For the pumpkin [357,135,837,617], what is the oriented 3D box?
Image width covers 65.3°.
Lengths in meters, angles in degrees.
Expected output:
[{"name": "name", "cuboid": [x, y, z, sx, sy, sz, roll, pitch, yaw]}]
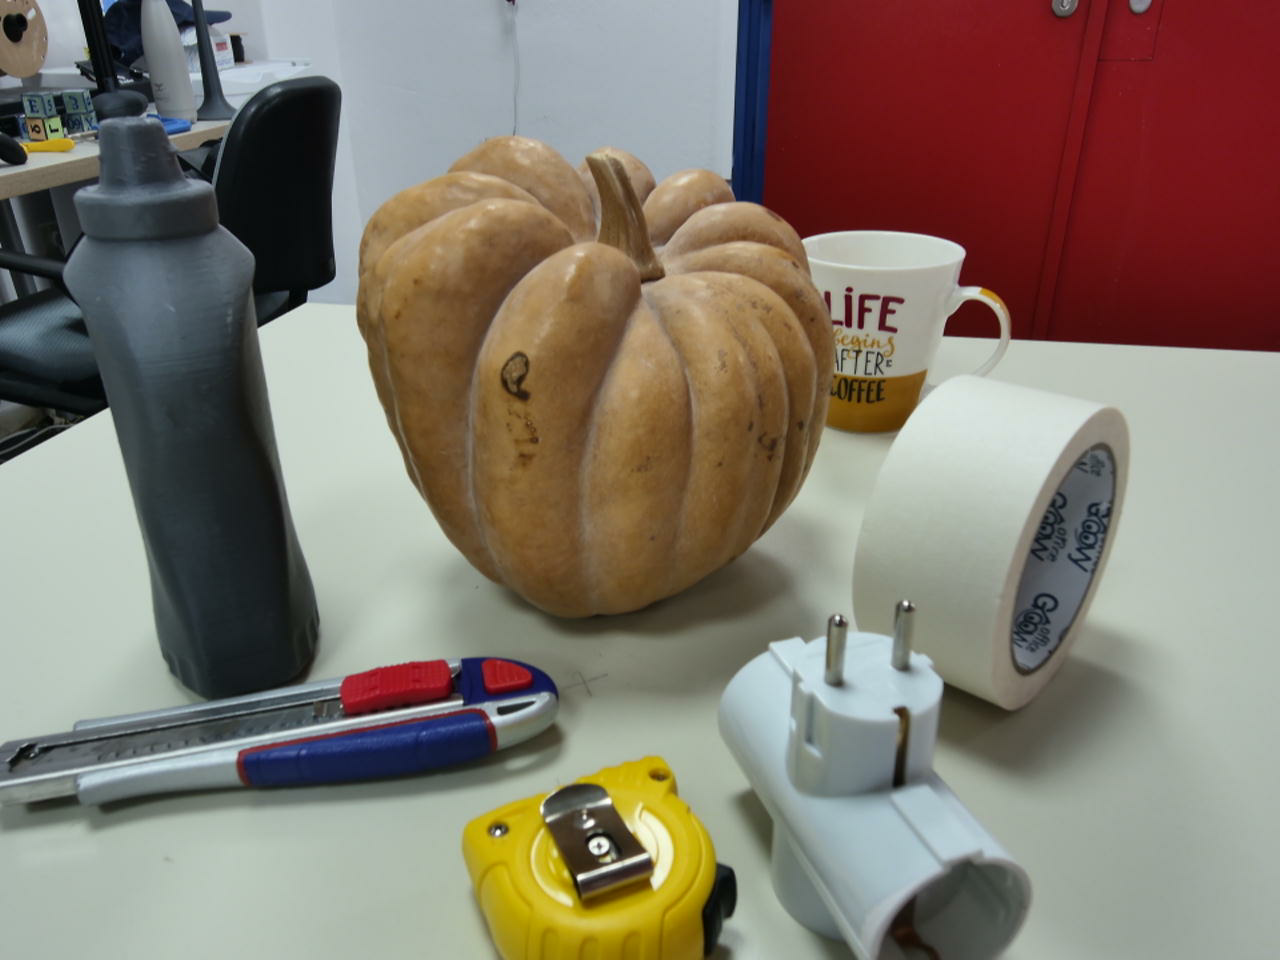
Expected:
[{"name": "pumpkin", "cuboid": [-0.017, -0.043, 0.407, 0.199, 0.177, 0.198, 0, 24, 0]}]
